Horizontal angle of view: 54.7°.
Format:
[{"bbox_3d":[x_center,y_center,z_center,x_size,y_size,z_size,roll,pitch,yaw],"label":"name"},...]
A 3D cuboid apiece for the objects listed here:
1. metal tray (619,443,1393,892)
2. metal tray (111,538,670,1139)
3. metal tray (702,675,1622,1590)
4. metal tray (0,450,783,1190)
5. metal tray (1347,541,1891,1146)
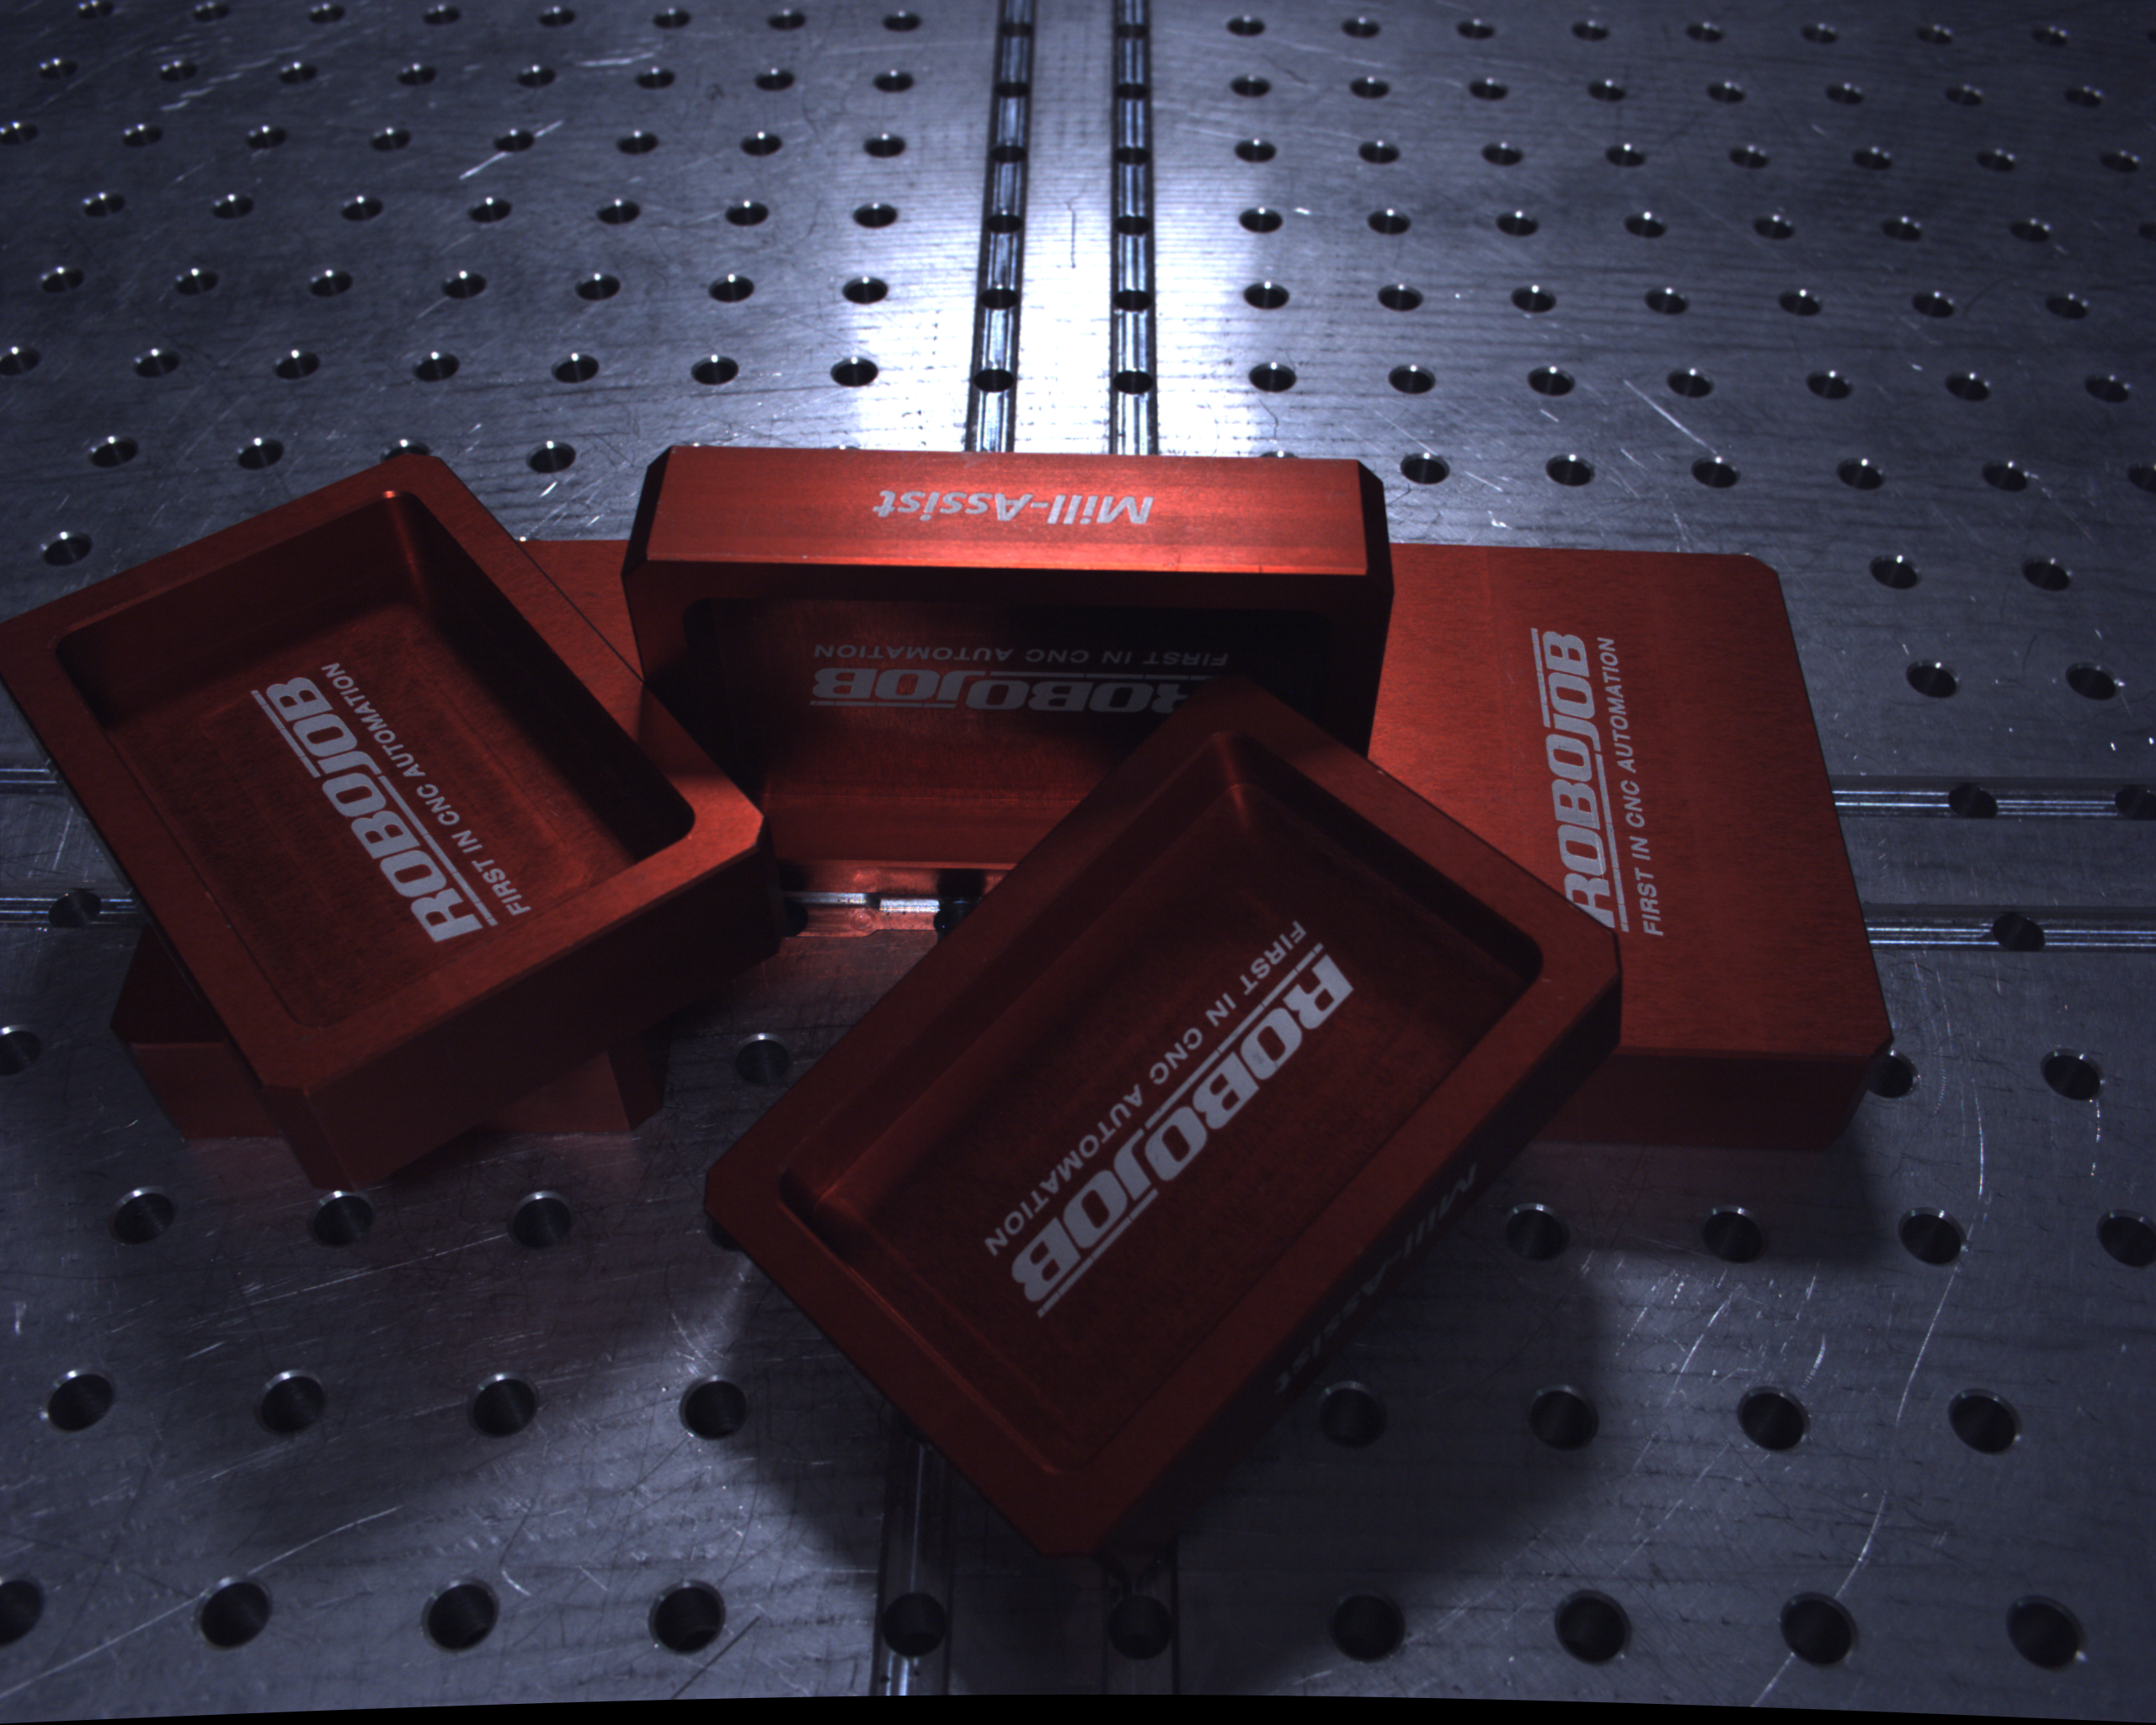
[{"bbox_3d":[-0.012,-0.033,0.392,0.131,0.089,0.030,1,50,0],"label":"metal tray"},{"bbox_3d":[-0.123,-0.009,0.411,0.091,0.030,0.130,-1,51,-1],"label":"metal tray"},{"bbox_3d":[0.015,0.041,0.346,0.090,0.030,0.130,39,77,27],"label":"metal tray"},{"bbox_3d":[-0.125,-0.014,0.373,0.091,0.030,0.130,-31,57,-24],"label":"metal tray"},{"bbox_3d":[0.098,-0.008,0.411,0.091,0.030,0.130,2,50,1],"label":"metal tray"}]
